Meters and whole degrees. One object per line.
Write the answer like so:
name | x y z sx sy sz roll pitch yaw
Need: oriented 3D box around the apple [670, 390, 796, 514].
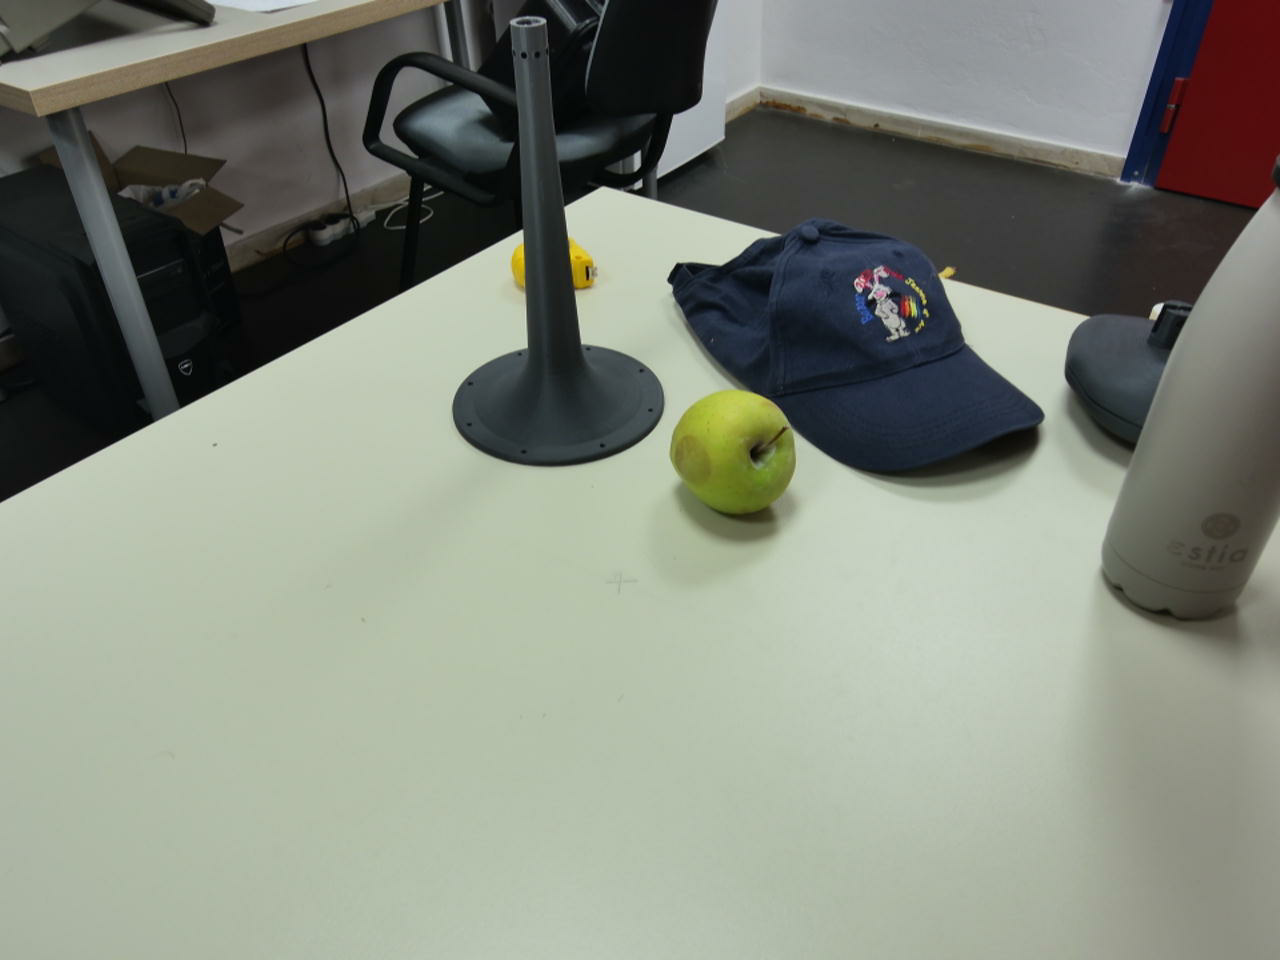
apple | 0.056 -0.019 0.600 0.072 0.075 0.077 -5 38 -7
